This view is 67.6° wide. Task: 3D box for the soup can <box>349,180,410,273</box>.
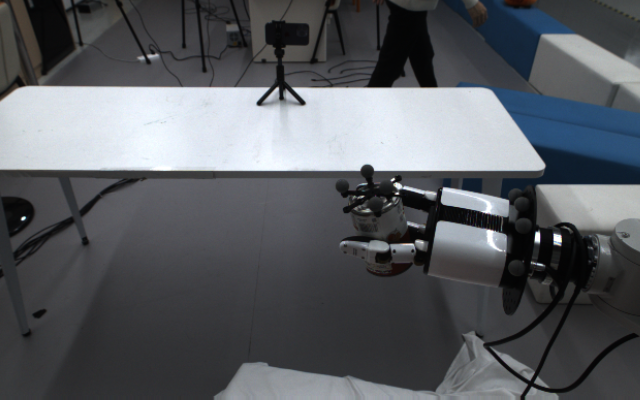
[{"bbox_3d":[0.081,0.038,0.618,0.067,0.101,0.067,-13,31,8],"label":"soup can"}]
